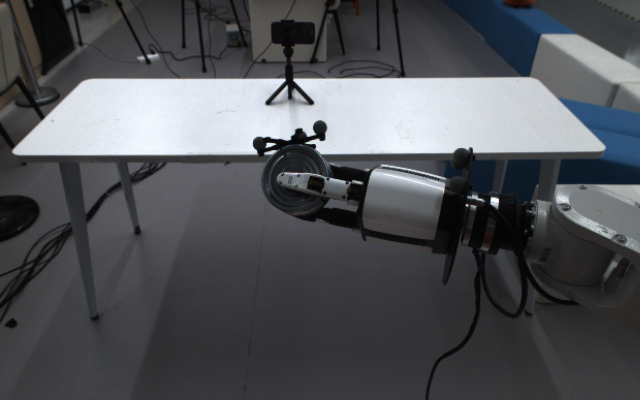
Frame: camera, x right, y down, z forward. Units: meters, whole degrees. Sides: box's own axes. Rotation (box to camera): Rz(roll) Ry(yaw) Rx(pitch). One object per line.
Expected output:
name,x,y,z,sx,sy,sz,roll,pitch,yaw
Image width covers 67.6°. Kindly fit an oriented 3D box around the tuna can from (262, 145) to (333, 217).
tuna can,-0.023,-0.019,0.589,0.085,0.085,0.034,12,-6,14
